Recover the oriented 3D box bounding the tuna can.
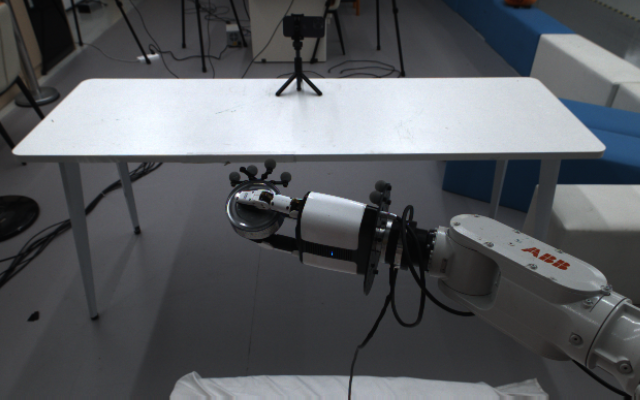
[{"bbox_3d":[-0.090,0.015,0.715,0.085,0.034,0.085,-2,58,3],"label":"tuna can"}]
